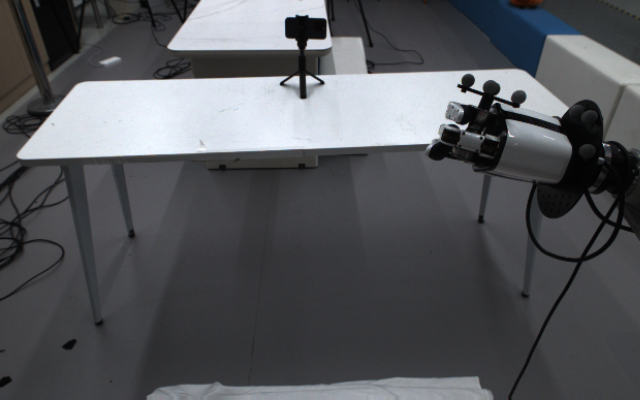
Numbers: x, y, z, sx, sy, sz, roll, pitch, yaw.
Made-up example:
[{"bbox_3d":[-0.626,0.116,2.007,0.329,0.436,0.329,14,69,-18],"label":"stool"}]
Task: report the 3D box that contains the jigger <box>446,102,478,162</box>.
[{"bbox_3d":[0.203,-0.088,0.641,0.043,0.071,0.043,18,17,-6],"label":"jigger"}]
